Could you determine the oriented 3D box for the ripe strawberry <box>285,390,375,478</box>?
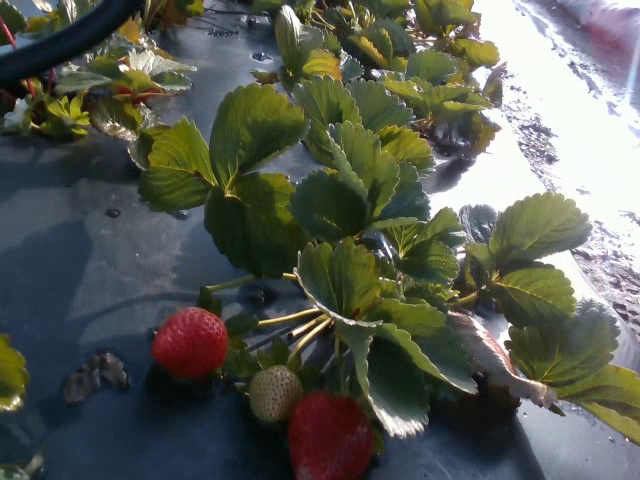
[{"bbox_3d":[0.001,0.103,0.296,0.048,0.050,0.065,-13,27,31],"label":"ripe strawberry"}]
